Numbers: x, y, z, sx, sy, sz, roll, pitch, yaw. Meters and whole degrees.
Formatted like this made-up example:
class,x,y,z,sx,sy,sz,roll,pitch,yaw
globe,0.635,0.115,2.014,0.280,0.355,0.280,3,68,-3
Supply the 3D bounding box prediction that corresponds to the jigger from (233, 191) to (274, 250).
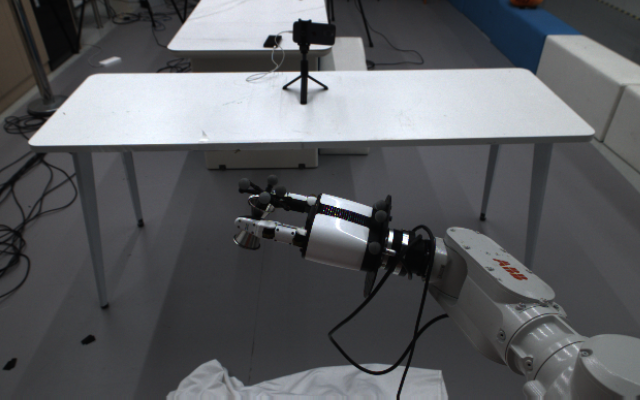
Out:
class,x,y,z,sx,sy,sz,roll,pitch,yaw
jigger,-0.100,0.035,0.728,0.043,0.071,0.043,22,19,-8
